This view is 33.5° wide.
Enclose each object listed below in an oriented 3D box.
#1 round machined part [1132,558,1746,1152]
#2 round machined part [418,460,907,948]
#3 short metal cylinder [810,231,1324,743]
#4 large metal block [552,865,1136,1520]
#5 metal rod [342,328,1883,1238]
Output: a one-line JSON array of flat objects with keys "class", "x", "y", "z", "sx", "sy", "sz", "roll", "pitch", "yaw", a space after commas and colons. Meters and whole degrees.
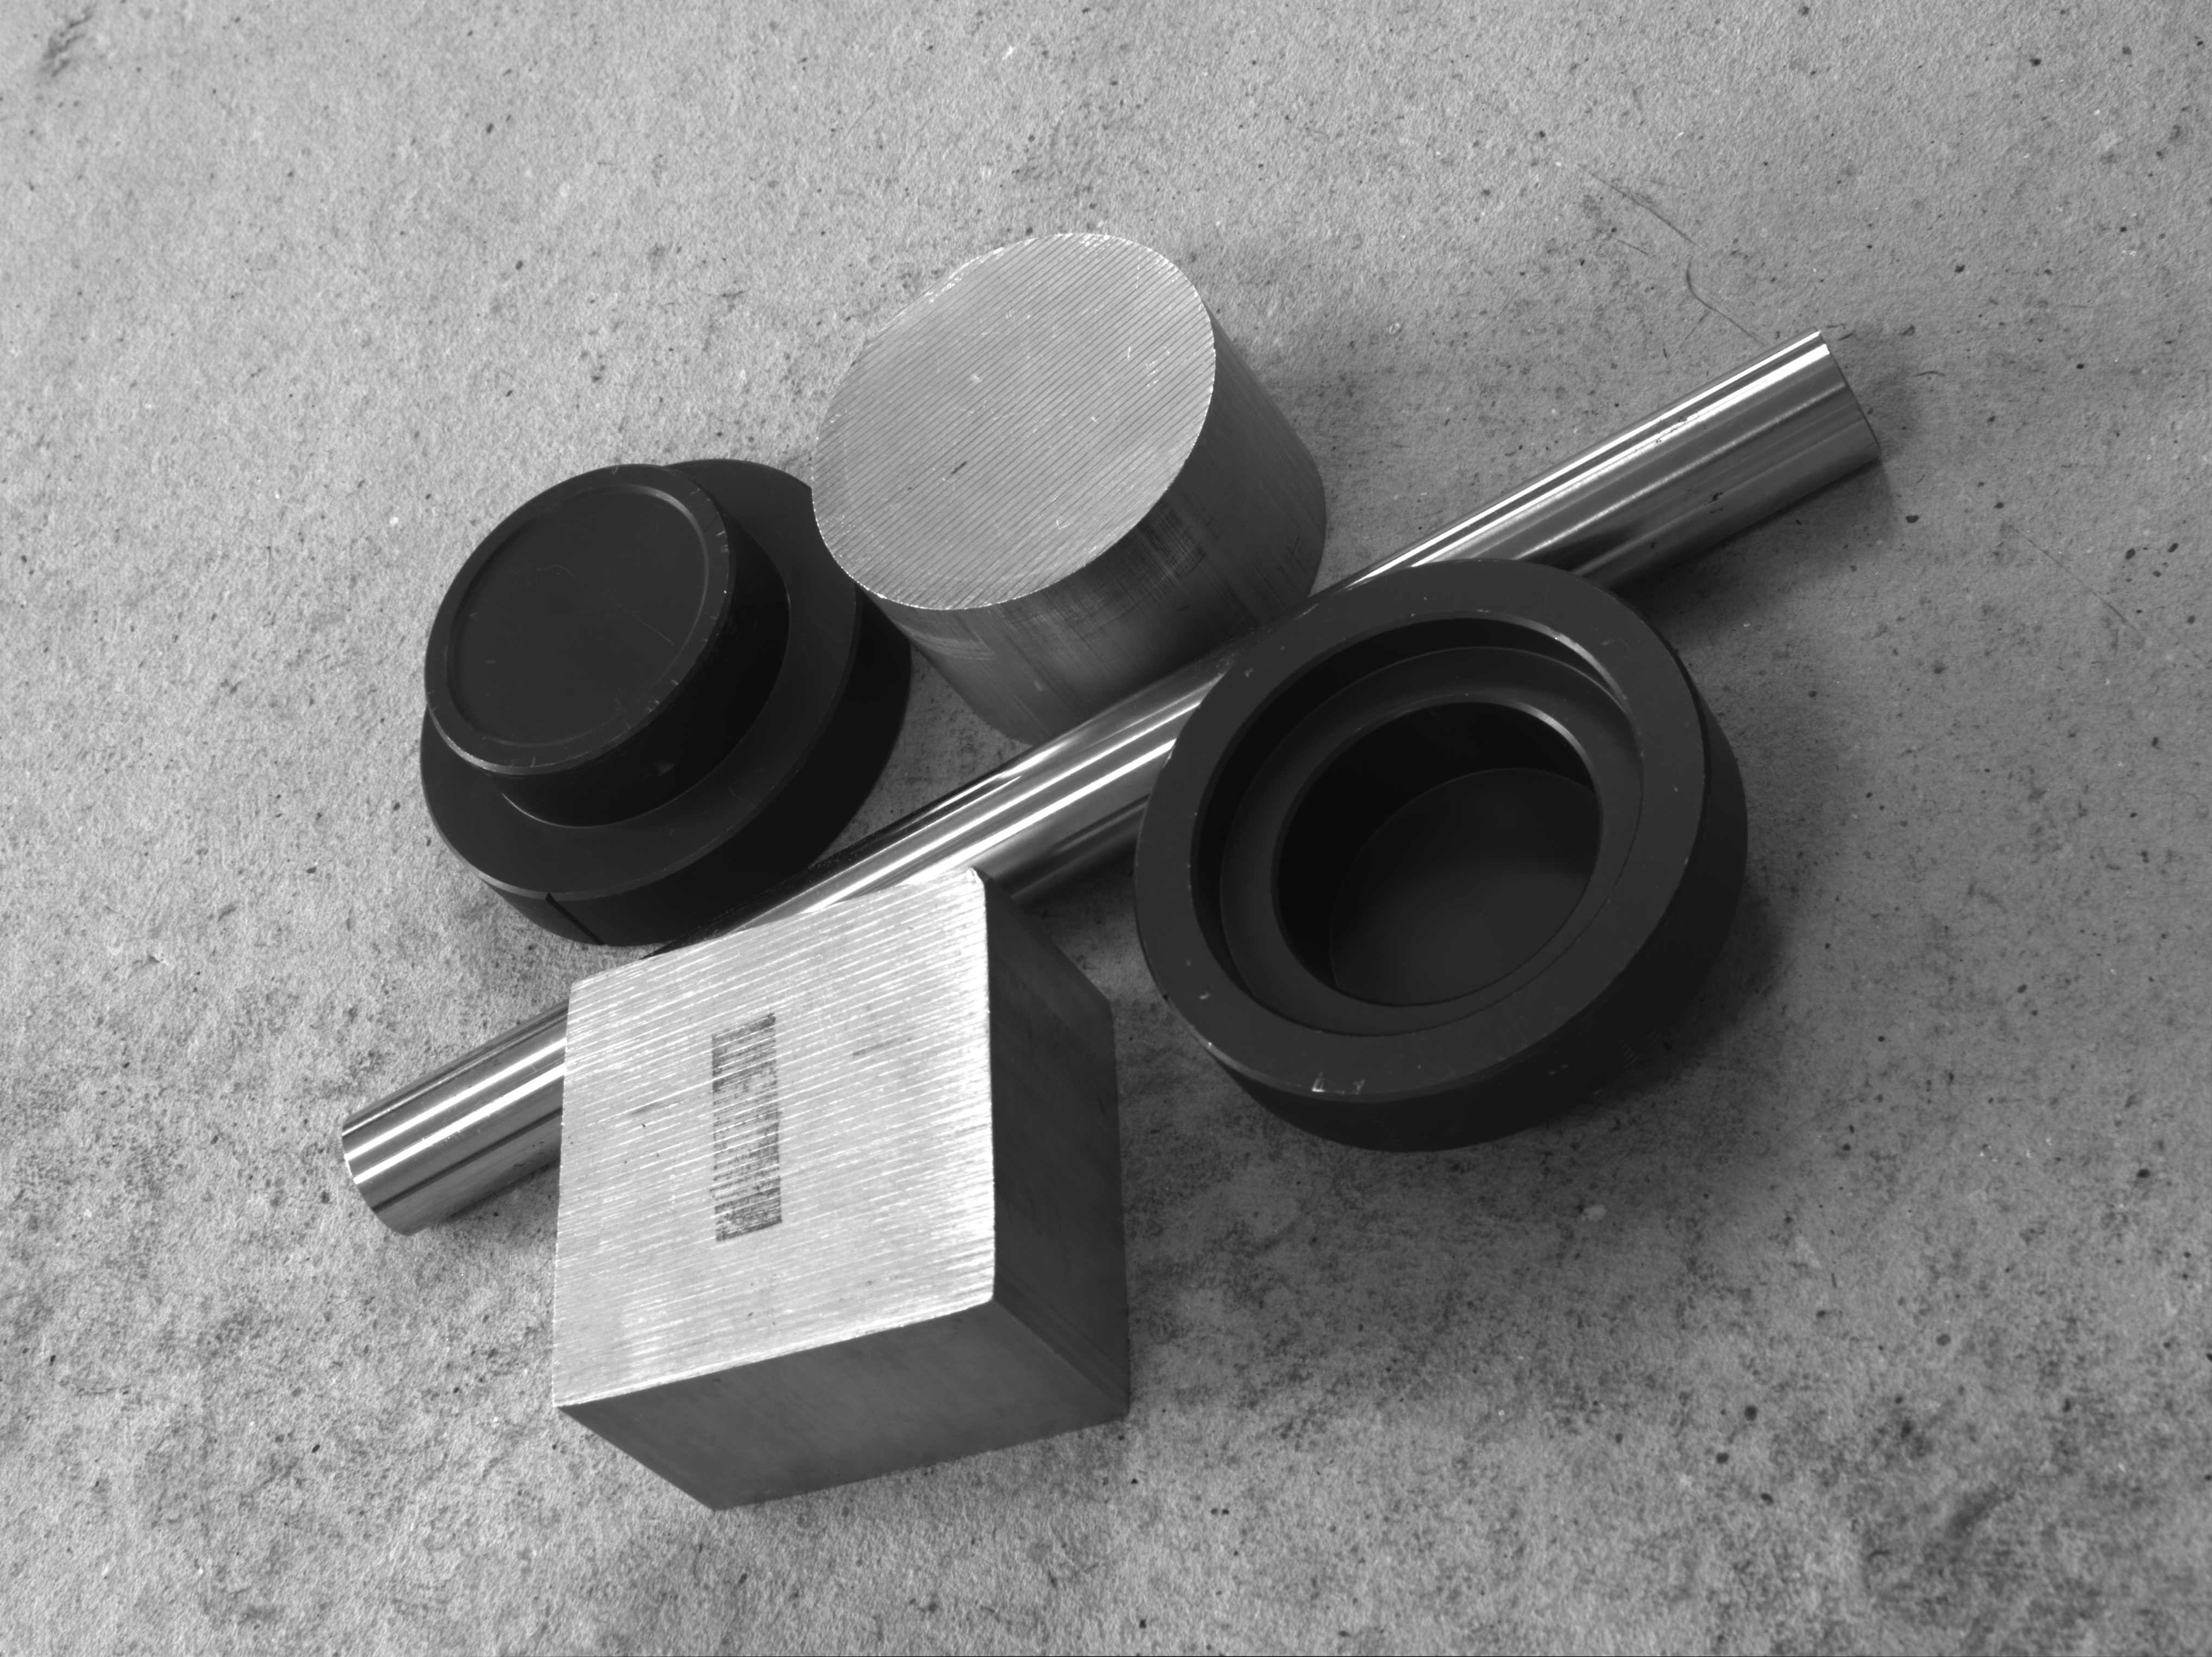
[{"class": "round machined part", "x": 0.057, "y": 0.008, "z": 0.599, "sx": 0.098, "sy": 0.042, "sz": 0.098, "roll": -14, "pitch": 56, "yaw": 21}, {"class": "round machined part", "x": -0.091, "y": -0.030, "z": 0.702, "sx": 0.098, "sy": 0.042, "sz": 0.098, "roll": -14, "pitch": 56, "yaw": 21}, {"class": "short metal cylinder", "x": -0.007, "y": -0.061, "z": 0.671, "sx": 0.080, "sy": 0.050, "sz": 0.080, "roll": -14, "pitch": 56, "yaw": 21}, {"class": "large metal block", "x": -0.044, "y": 0.062, "z": 0.616, "sx": 0.080, "sy": 0.050, "sz": 0.080, "roll": -16, "pitch": 55, "yaw": 19}, {"class": "metal rod", "x": -0.004, "y": -0.005, "z": 0.652, "sx": 0.300, "sy": 0.025, "sz": 0.025, "roll": -28, "pitch": 52, "yaw": 11}]
